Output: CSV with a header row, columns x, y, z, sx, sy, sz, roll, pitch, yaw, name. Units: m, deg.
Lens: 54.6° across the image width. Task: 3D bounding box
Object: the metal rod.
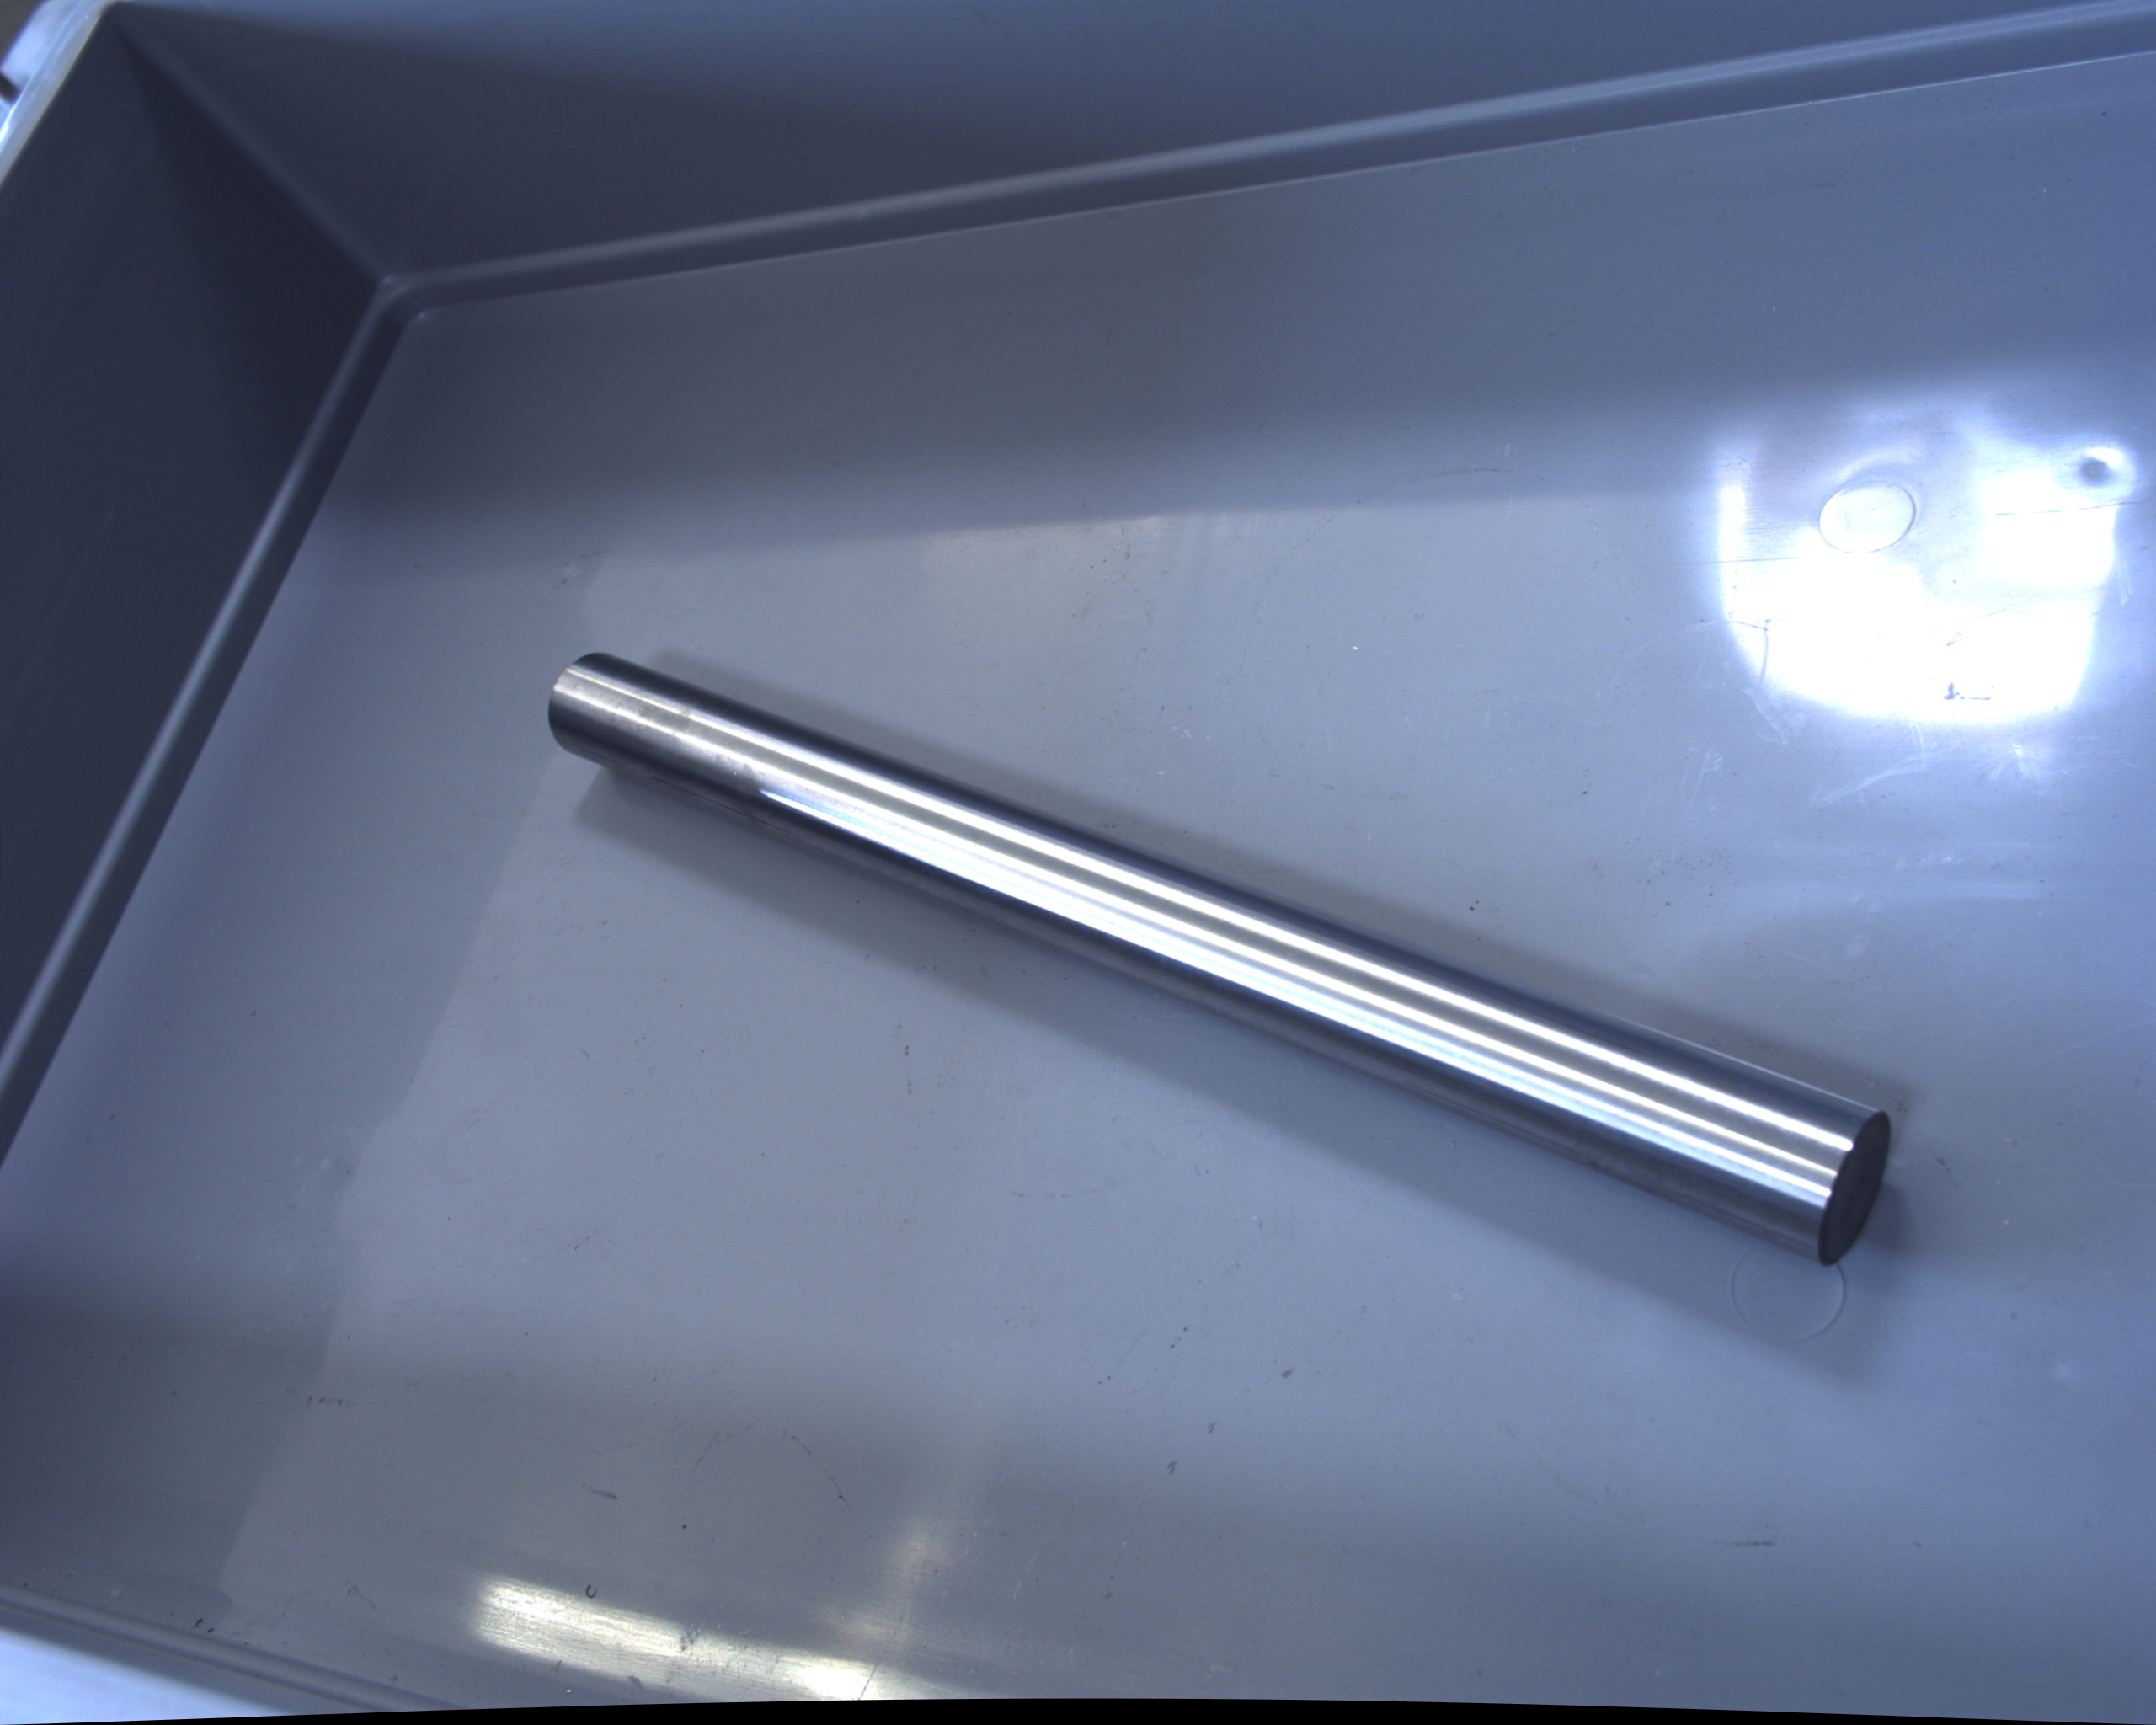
x,y,z,sx,sy,sz,roll,pitch,yaw,name
0.002,0.006,0.400,0.300,0.025,0.025,20,73,35,metal rod
